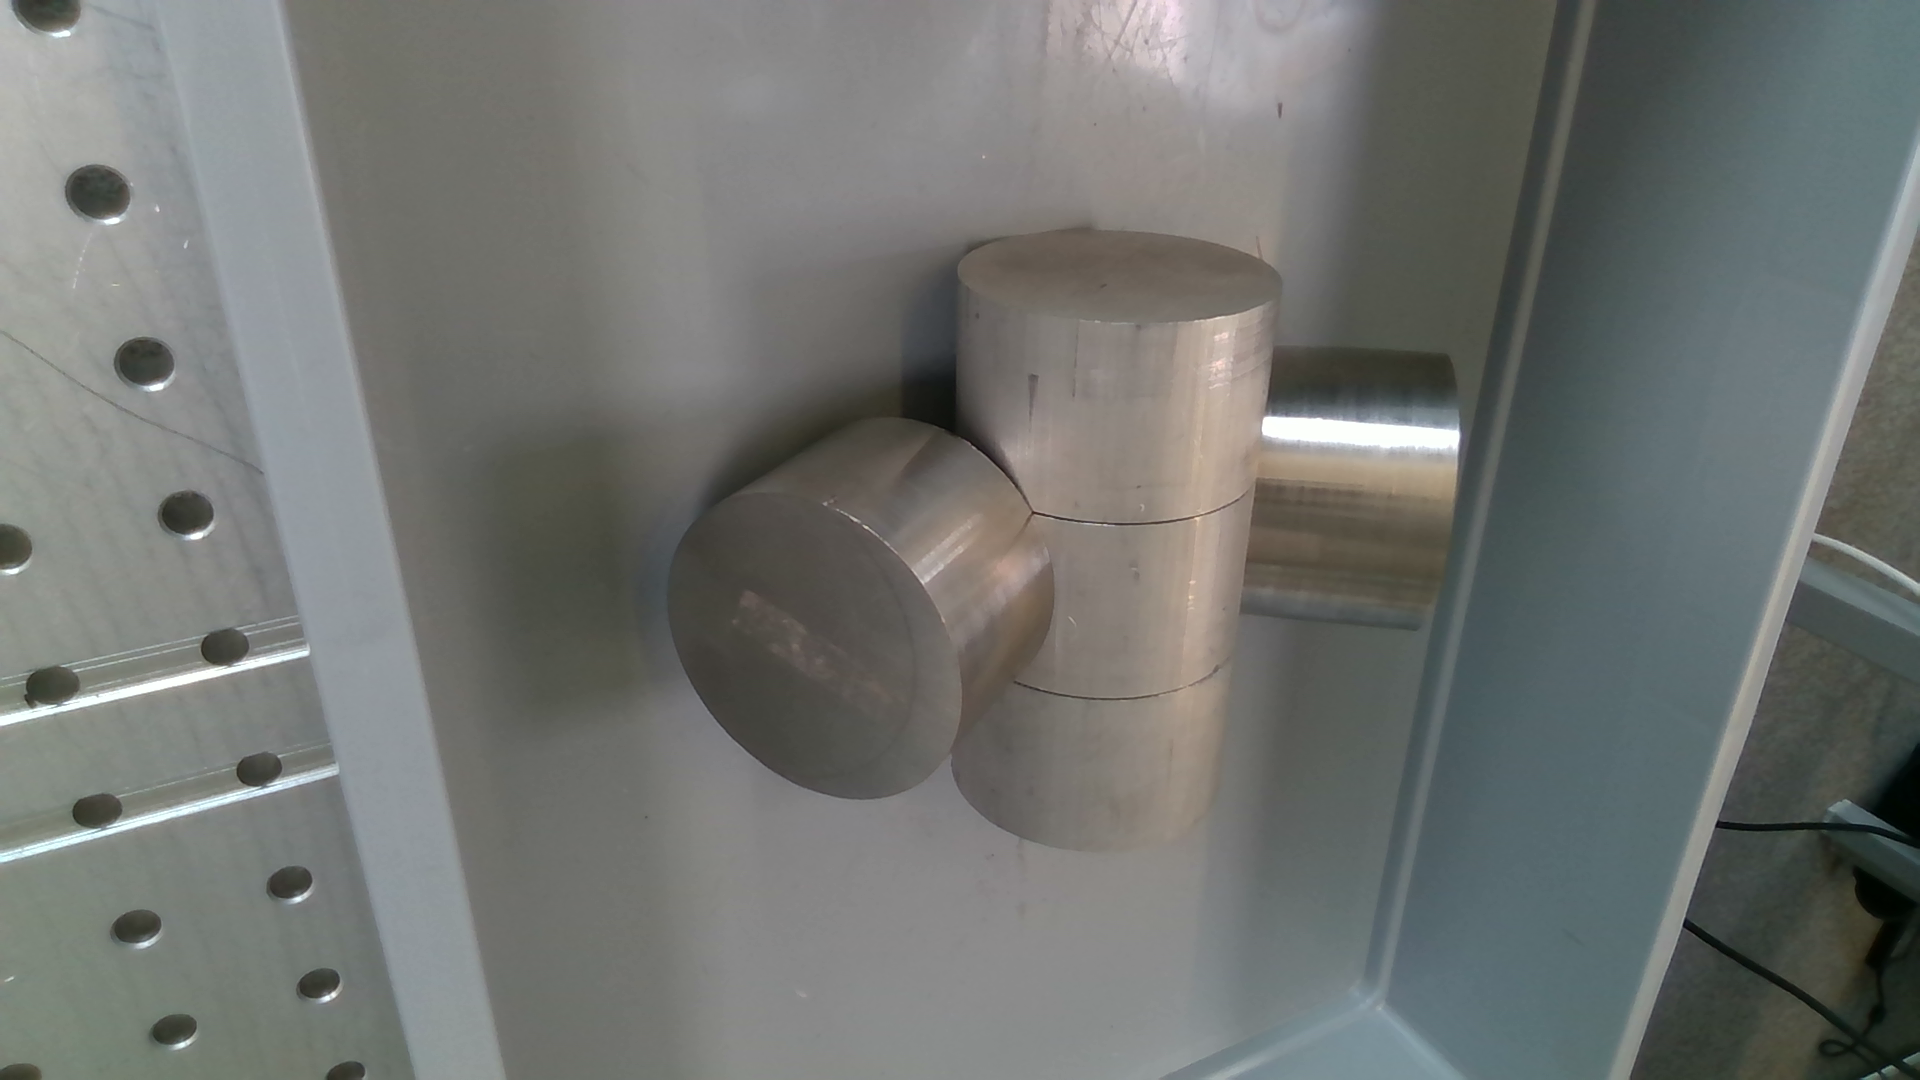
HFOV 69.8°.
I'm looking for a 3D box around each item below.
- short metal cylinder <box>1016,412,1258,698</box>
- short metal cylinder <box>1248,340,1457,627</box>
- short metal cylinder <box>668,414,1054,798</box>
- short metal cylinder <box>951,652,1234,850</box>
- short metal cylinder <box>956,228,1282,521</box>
[{"bbox_3d":[0.038,0.000,0.376,0.080,0.080,0.050,-13,121,-25],"label":"short metal cylinder"},{"bbox_3d":[0.109,-0.017,0.402,0.050,0.080,0.080,6,118,8],"label":"short metal cylinder"},{"bbox_3d":[-0.024,0.015,0.337,0.050,0.080,0.080,-43,140,-52],"label":"short metal cylinder"},{"bbox_3d":[0.038,0.044,0.400,0.080,0.080,0.050,-13,121,-25],"label":"short metal cylinder"},{"bbox_3d":[0.039,-0.045,0.353,0.080,0.080,0.050,-13,121,-25],"label":"short metal cylinder"}]
